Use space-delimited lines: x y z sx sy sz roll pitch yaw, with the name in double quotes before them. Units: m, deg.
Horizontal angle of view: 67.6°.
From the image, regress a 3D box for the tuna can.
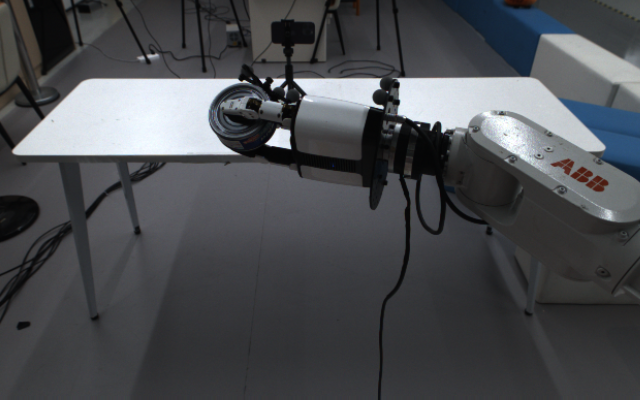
"tuna can" -0.097 -0.103 0.629 0.085 0.034 0.085 -4 69 10
